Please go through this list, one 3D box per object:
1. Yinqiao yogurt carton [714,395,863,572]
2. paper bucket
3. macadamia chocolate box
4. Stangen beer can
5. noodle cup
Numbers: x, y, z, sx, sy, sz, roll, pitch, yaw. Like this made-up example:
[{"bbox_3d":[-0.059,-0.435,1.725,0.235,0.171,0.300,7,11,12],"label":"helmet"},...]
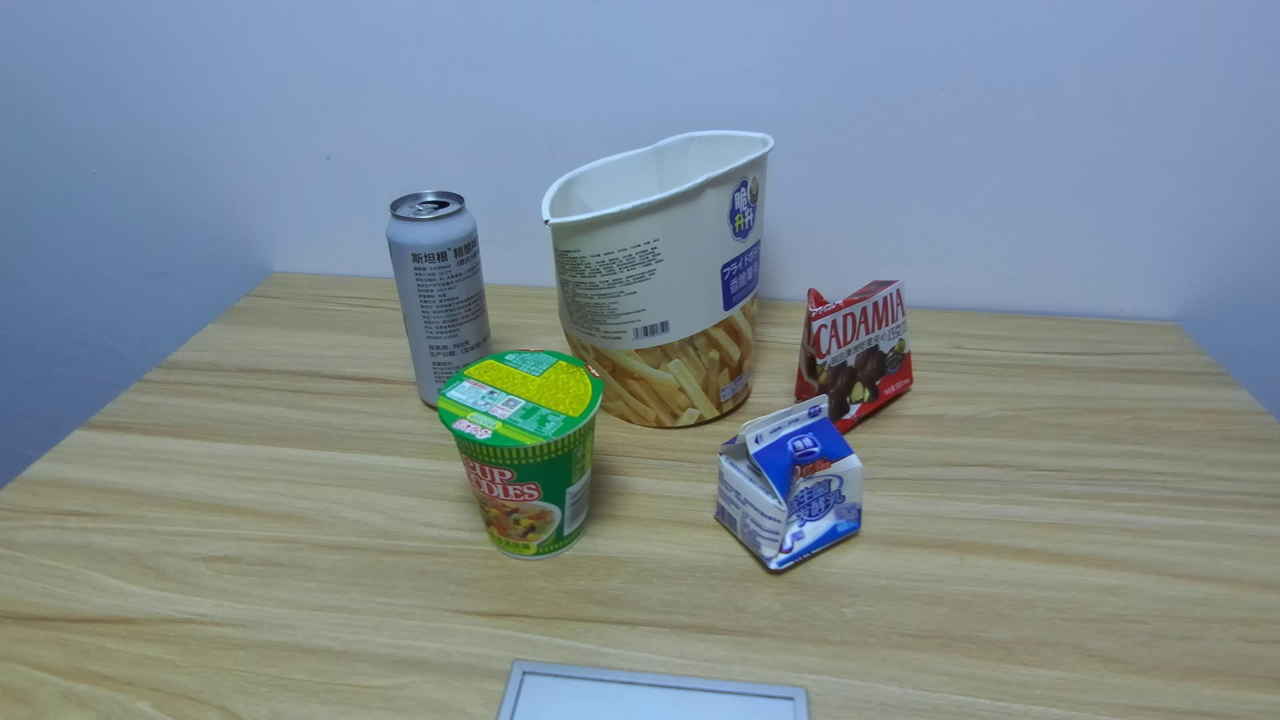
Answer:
[{"bbox_3d":[0.094,0.070,0.457,0.078,0.094,0.070,-18,30,-25],"label":"Yinqiao yogurt carton"},{"bbox_3d":[0.023,-0.065,0.567,0.147,0.199,0.218,5,33,10],"label":"paper bucket"},{"bbox_3d":[0.171,-0.009,0.565,0.127,0.112,0.056,-23,37,-31],"label":"macadamia chocolate box"},{"bbox_3d":[-0.156,-0.044,0.566,0.067,0.171,0.067,0,31,0],"label":"Stangen beer can"},{"bbox_3d":[-0.069,0.066,0.454,0.097,0.110,0.097,-1,33,1],"label":"noodle cup"}]
